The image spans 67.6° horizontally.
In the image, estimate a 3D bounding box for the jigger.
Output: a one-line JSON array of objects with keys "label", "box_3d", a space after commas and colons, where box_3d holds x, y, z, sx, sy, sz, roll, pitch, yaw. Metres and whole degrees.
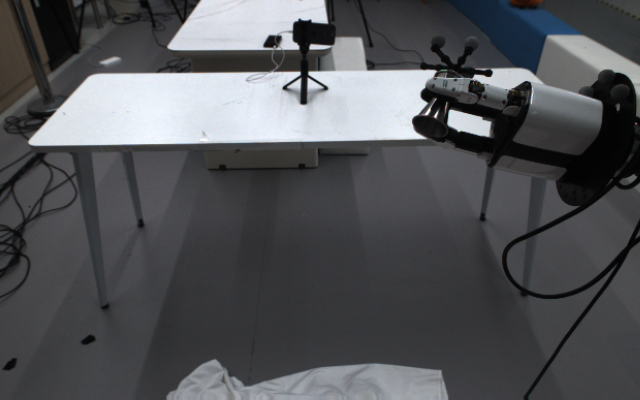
[{"label": "jigger", "box_3d": [0.142, -0.117, 0.572, 0.043, 0.043, 0.071, 19, 72, 23]}]
